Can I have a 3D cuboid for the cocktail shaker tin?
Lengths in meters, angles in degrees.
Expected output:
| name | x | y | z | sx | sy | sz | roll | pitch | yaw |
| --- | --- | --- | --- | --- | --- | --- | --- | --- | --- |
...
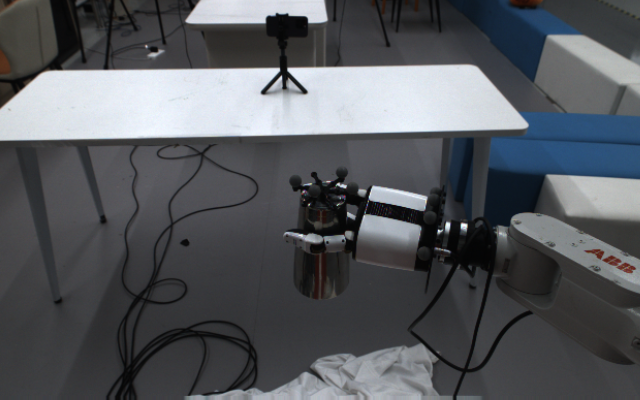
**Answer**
| name | x | y | z | sx | sy | sz | roll | pitch | yaw |
| --- | --- | --- | --- | --- | --- | --- | --- | --- | --- |
| cocktail shaker tin | 0.007 | 0.056 | 0.735 | 0.093 | 0.170 | 0.093 | 1 | 39 | -1 |
